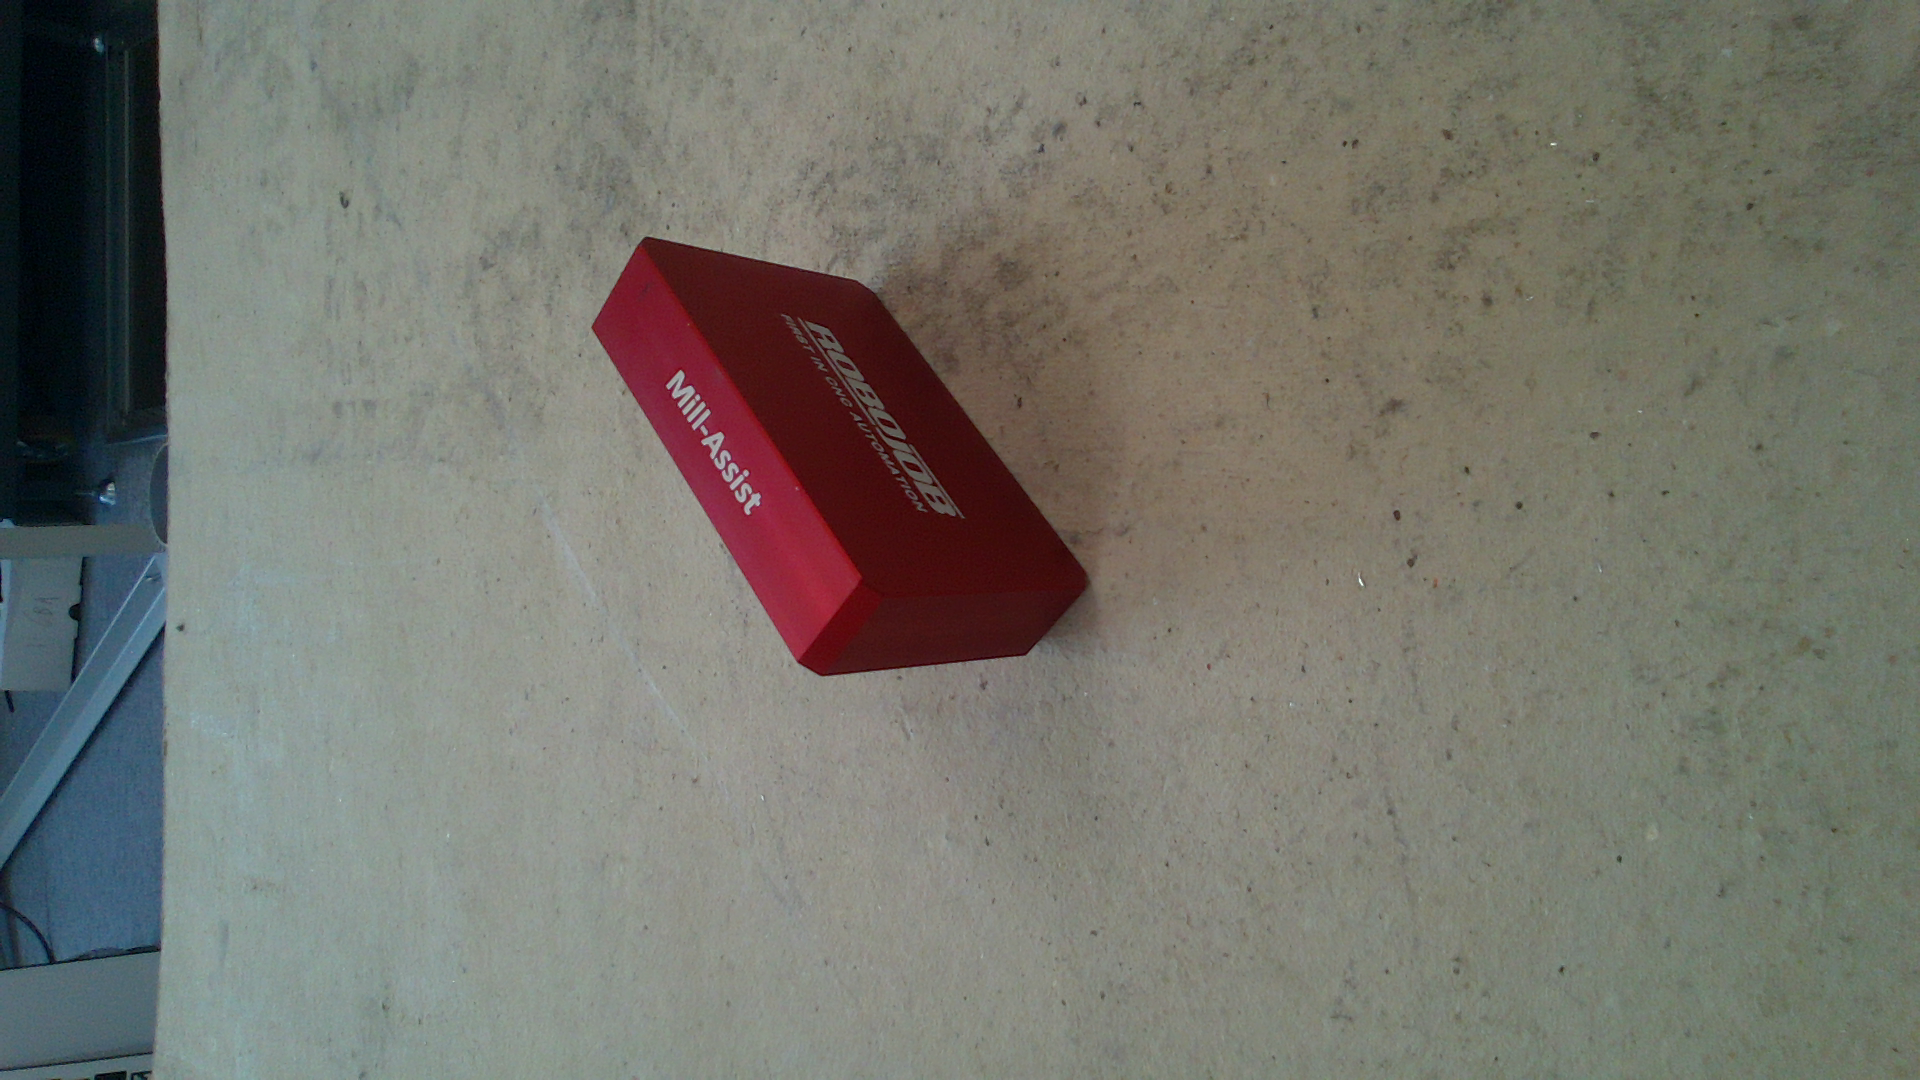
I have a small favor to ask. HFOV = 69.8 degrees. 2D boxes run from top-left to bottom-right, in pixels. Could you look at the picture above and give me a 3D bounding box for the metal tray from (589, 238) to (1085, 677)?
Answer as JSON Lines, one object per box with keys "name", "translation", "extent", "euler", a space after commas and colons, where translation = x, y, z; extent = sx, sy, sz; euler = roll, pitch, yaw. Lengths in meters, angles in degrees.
{"name": "metal tray", "translation": [-0.034, -0.025, 0.380], "extent": [0.030, 0.090, 0.130], "euler": [-51, 61, 28]}
